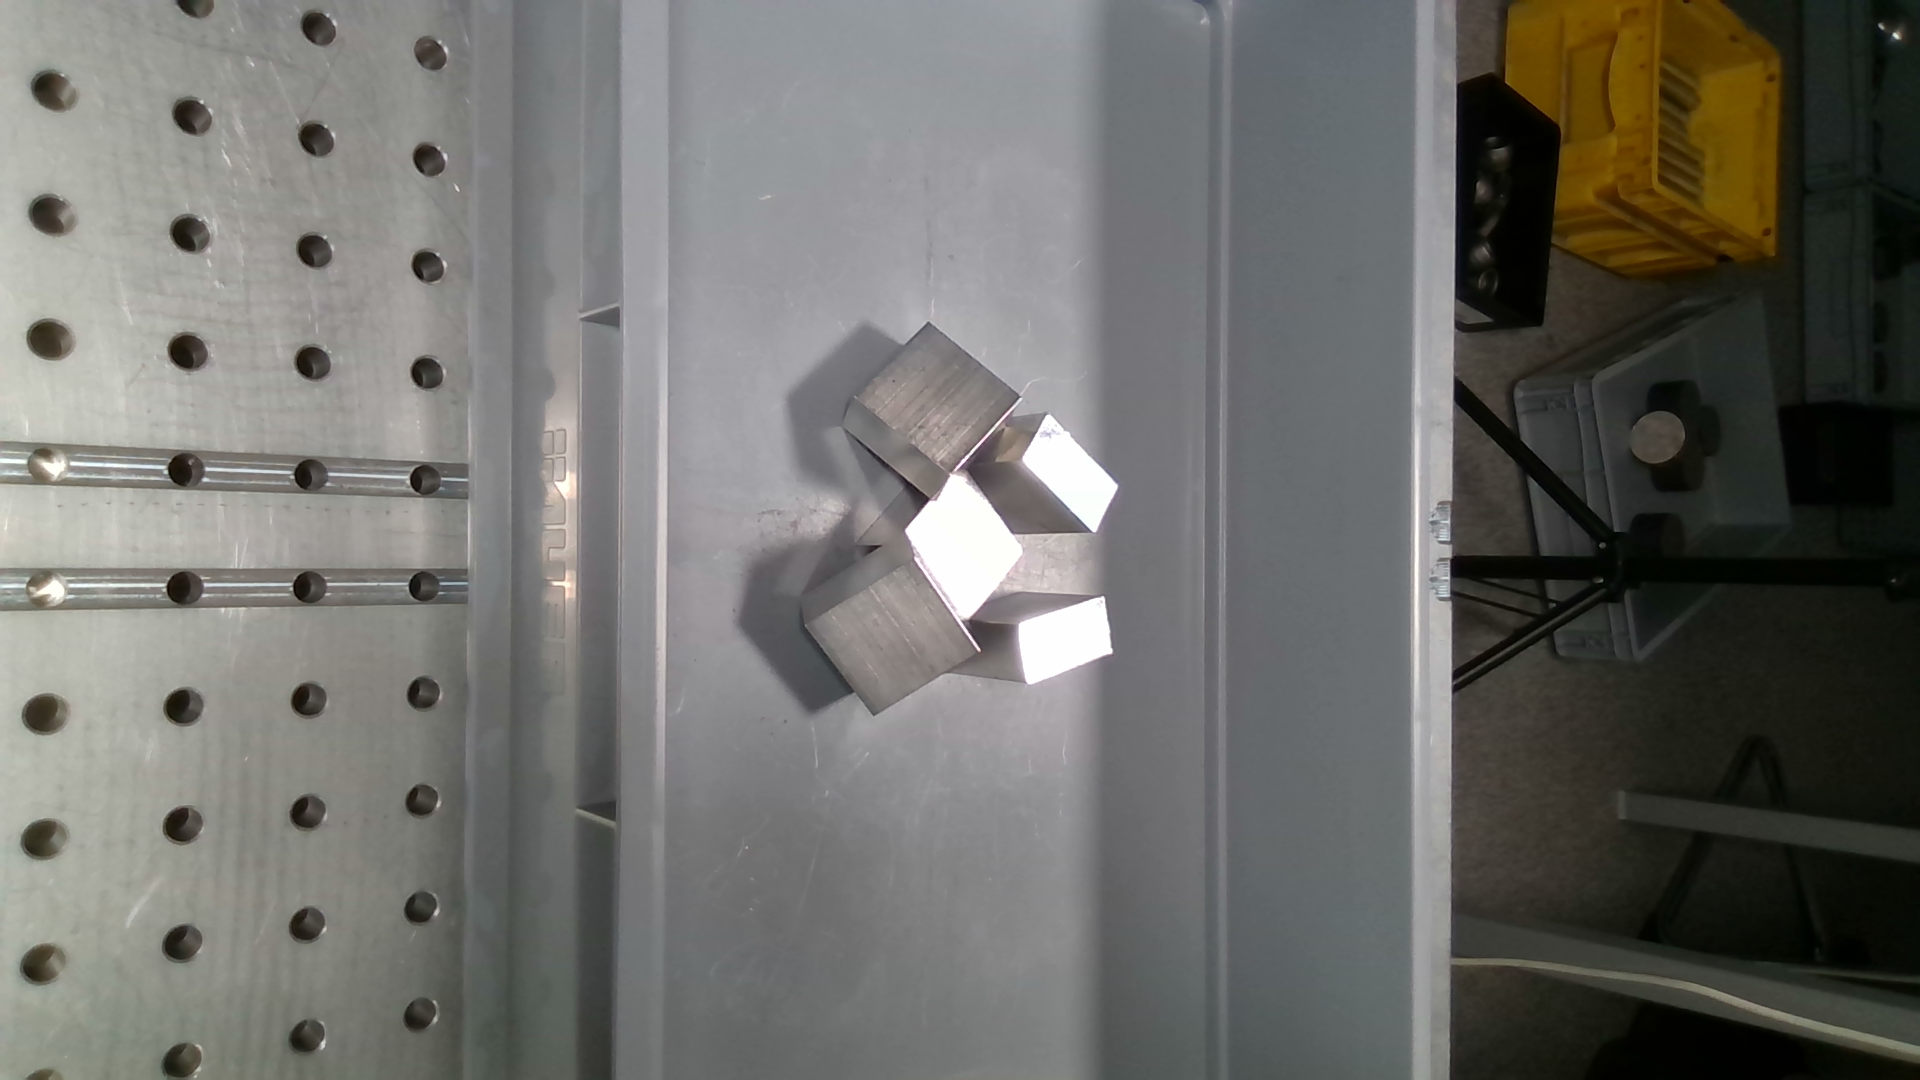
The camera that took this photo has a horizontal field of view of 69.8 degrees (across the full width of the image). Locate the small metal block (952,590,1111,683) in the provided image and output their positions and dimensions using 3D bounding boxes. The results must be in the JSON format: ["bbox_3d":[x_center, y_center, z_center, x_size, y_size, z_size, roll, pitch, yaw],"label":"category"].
[{"bbox_3d":[0.028,0.040,0.588,0.050,0.050,0.025,-15,100,-39],"label":"small metal block"}]

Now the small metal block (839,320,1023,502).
[{"bbox_3d":[-0.012,-0.052,0.557,0.050,0.025,0.050,39,61,3],"label":"small metal block"}]

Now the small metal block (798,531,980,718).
[{"bbox_3d":[-0.028,0.033,0.541,0.050,0.025,0.050,-32,116,4],"label":"small metal block"}]

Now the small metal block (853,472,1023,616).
[{"bbox_3d":[-0.008,0.003,0.574,0.050,0.025,0.050,-50,120,-29],"label":"small metal block"}]

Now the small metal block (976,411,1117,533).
[{"bbox_3d":[0.030,-0.028,0.590,0.050,0.050,0.025,44,63,-31],"label":"small metal block"}]
